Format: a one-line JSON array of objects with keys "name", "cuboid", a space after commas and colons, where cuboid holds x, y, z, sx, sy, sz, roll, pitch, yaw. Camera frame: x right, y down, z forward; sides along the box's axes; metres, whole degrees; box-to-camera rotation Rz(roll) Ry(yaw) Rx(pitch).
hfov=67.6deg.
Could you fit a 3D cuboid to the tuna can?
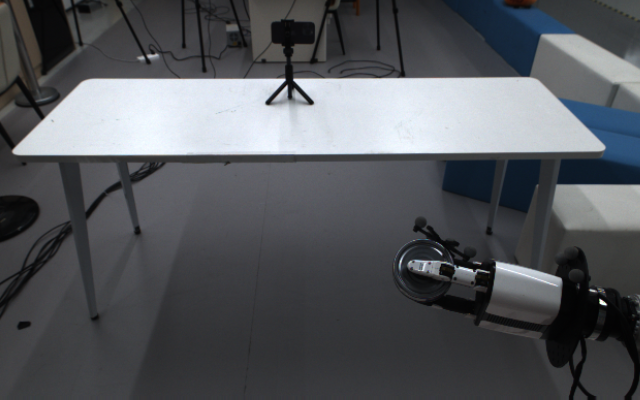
[{"name": "tuna can", "cuboid": [0.148, 0.097, 0.680, 0.085, 0.034, 0.085, -4, 69, 10]}]
